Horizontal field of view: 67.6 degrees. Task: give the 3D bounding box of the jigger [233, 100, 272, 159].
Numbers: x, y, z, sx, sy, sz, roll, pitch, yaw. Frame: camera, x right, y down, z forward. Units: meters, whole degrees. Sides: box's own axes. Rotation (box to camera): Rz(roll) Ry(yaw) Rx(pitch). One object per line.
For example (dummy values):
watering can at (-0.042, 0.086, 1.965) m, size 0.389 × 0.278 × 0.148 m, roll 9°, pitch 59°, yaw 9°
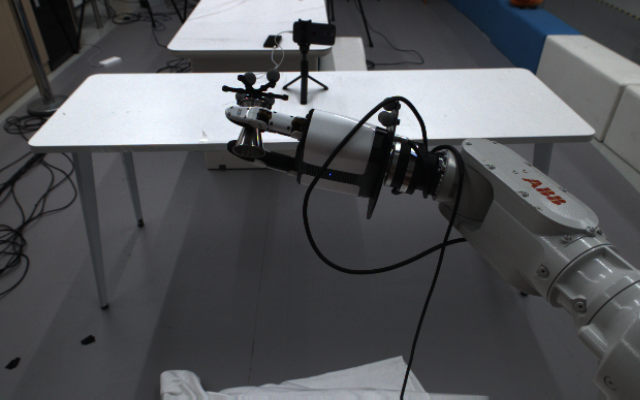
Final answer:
jigger at (-0.092, -0.096, 0.642) m, size 0.043 × 0.043 × 0.071 m, roll 3°, pitch 75°, yaw 2°
